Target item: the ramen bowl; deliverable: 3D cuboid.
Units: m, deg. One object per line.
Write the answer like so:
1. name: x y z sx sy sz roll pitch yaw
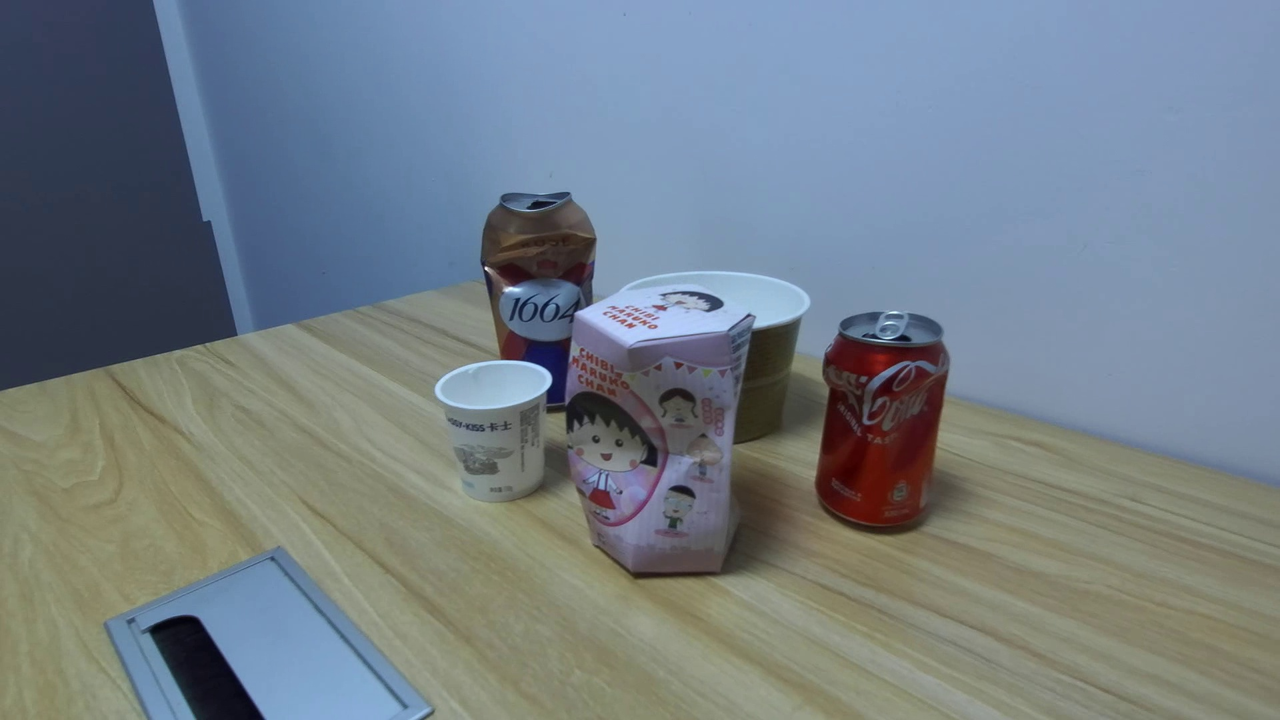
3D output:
1. ramen bowl: 0.050 -0.003 0.524 0.140 0.095 0.140 1 22 0

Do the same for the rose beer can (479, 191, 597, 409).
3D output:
1. rose beer can: -0.073 -0.044 0.538 0.074 0.162 0.067 -14 20 -32

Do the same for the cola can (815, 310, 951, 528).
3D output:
1. cola can: 0.136 0.032 0.401 0.066 0.117 0.066 -8 23 -17

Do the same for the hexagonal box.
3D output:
1. hexagonal box: 0.012 0.035 0.374 0.088 0.134 0.093 6 23 17

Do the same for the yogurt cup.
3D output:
1. yogurt cup: -0.088 0.045 0.441 0.072 0.068 0.072 -1 22 1
